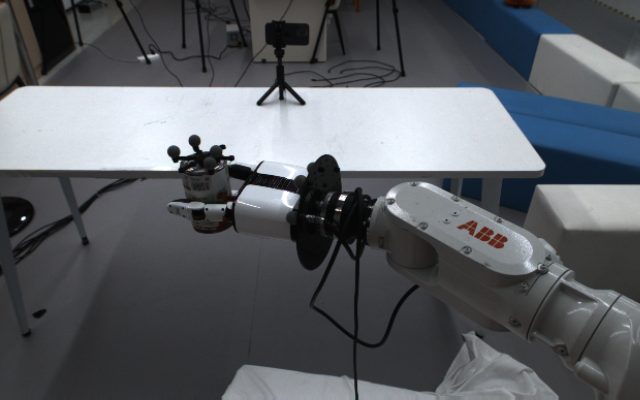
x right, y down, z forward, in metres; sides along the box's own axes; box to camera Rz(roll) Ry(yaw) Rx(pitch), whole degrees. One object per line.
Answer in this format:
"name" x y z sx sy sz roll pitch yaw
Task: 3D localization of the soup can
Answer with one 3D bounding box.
"soup can" -0.162 -0.010 0.706 0.067 0.101 0.067 -2 32 1
